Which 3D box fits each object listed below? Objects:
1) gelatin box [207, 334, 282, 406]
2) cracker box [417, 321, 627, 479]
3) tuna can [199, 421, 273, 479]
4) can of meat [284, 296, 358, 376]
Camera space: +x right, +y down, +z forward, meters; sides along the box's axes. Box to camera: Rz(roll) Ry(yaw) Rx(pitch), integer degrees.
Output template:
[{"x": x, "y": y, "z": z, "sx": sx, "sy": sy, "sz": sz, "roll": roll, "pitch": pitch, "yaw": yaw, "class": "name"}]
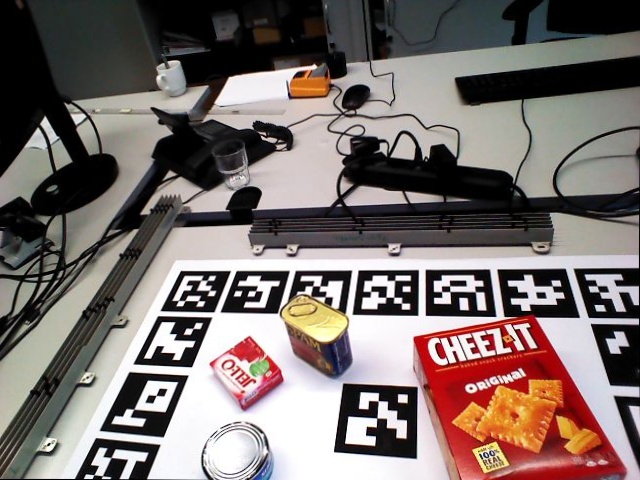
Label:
[{"x": -0.110, "y": 0.187, "z": 0.758, "sx": 0.073, "sy": 0.030, "sz": 0.089, "roll": -29, "pitch": 43, "yaw": -27, "class": "gelatin box"}, {"x": 0.223, "y": 0.202, "z": 0.620, "sx": 0.164, "sy": 0.072, "sz": 0.213, "roll": -11, "pitch": 35, "yaw": -1, "class": "cracker box"}, {"x": -0.102, "y": 0.270, "z": 0.638, "sx": 0.086, "sy": 0.034, "sz": 0.085, "roll": -9, "pitch": 40, "yaw": 7, "class": "tuna can"}, {"x": 0.004, "y": 0.141, "z": 0.755, "sx": 0.102, "sy": 0.084, "sz": 0.057, "roll": 20, "pitch": 46, "yaw": 37, "class": "can of meat"}]
